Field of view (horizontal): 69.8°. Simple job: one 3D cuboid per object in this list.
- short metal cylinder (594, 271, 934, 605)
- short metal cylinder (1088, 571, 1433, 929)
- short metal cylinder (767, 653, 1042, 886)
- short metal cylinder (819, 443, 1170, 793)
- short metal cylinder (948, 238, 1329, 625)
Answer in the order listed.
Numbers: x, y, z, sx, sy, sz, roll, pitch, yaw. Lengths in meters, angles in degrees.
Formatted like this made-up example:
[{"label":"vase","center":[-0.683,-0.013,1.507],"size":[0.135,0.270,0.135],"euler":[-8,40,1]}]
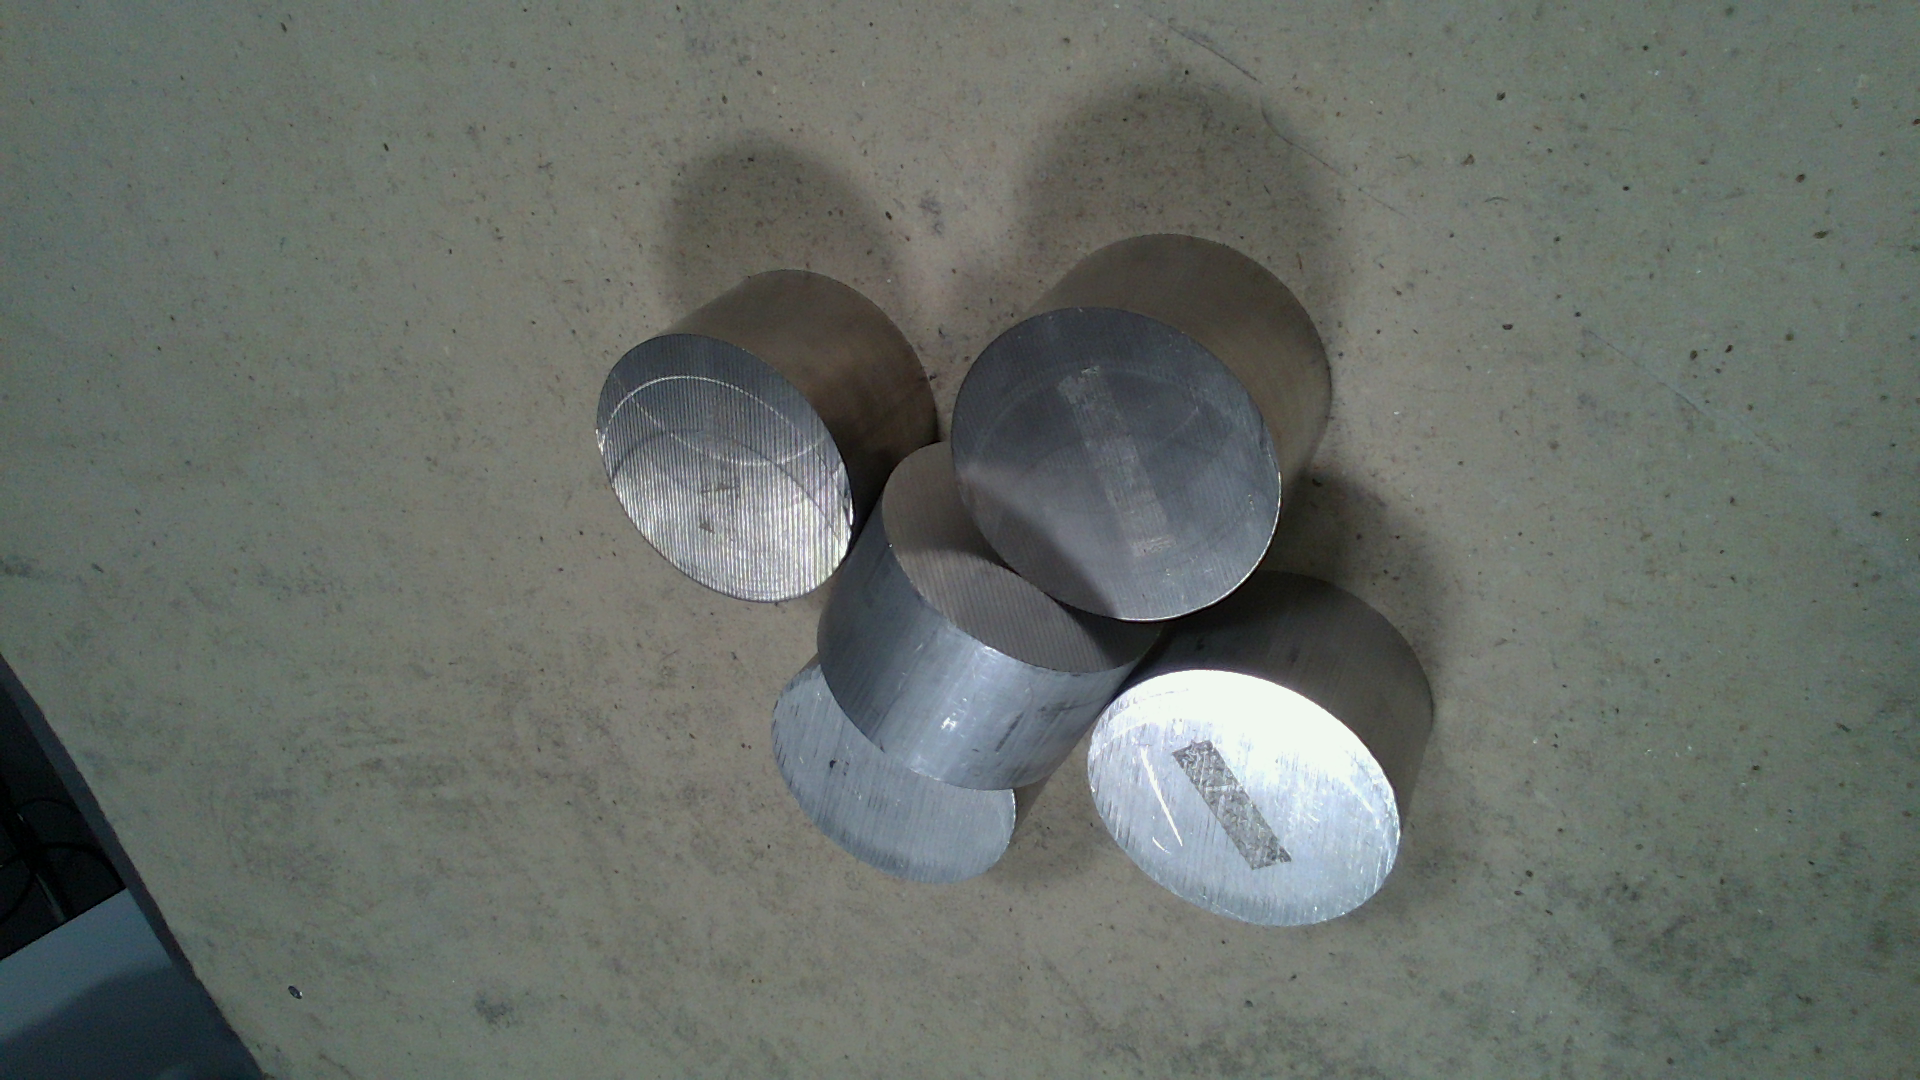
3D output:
[{"label":"short metal cylinder","center":[-0.054,-0.029,0.387],"size":[0.080,0.050,0.080],"euler":[13,124,21]},{"label":"short metal cylinder","center":[0.081,0.056,0.367],"size":[0.080,0.050,0.080],"euler":[13,124,21]},{"label":"short metal cylinder","center":[-0.011,0.057,0.416],"size":[0.080,0.050,0.080],"euler":[13,124,21]},{"label":"short metal cylinder","center":[0.009,0.019,0.365],"size":[0.080,0.080,0.050],"euler":[34,129,6]},{"label":"short metal cylinder","center":[0.044,-0.027,0.334],"size":[0.080,0.050,0.080],"euler":[13,124,21]}]
